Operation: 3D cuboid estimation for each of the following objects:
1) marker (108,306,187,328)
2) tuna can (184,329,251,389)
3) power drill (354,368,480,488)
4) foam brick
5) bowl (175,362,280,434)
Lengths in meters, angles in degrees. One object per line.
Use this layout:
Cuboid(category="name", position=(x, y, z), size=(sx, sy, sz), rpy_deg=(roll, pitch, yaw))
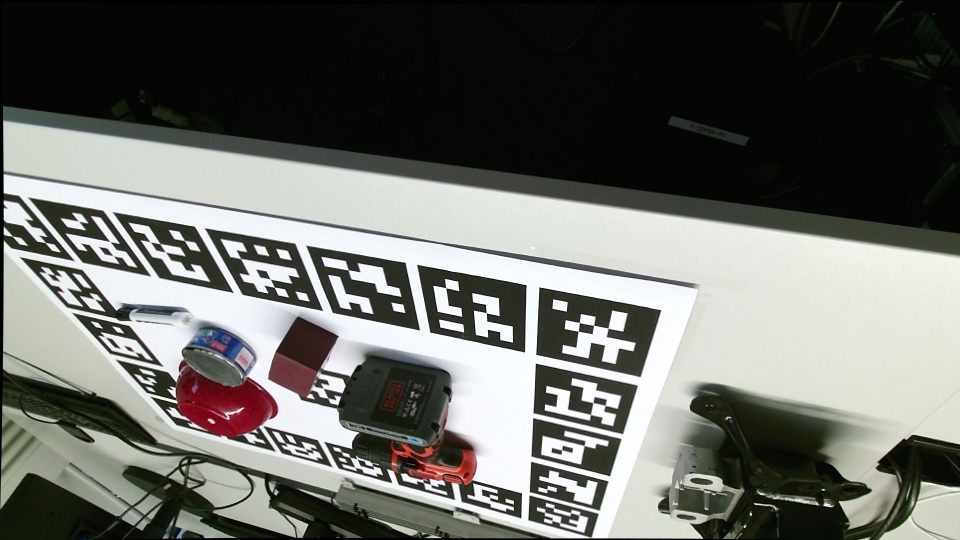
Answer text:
Cuboid(category="marker", position=(-0.427, 0.060, 0.683), size=(0.121, 0.019, 0.019), rpy_deg=(3, 132, 20))
Cuboid(category="tuna can", position=(-0.344, 0.116, 0.696), size=(0.086, 0.033, 0.086), rpy_deg=(13, 137, 13))
Cuboid(category="power drill", position=(-0.094, 0.200, 0.669), size=(0.185, 0.057, 0.187), rpy_deg=(12, 139, 16))
Cuboid(category="foam brick", position=(-0.208, 0.097, 0.620), size=(0.051, 0.052, 0.078), rpy_deg=(28, 136, -4))
Cuboid(category="bowl", position=(-0.387, 0.200, 0.798), size=(0.162, 0.055, 0.162), rpy_deg=(10, 143, 8))
